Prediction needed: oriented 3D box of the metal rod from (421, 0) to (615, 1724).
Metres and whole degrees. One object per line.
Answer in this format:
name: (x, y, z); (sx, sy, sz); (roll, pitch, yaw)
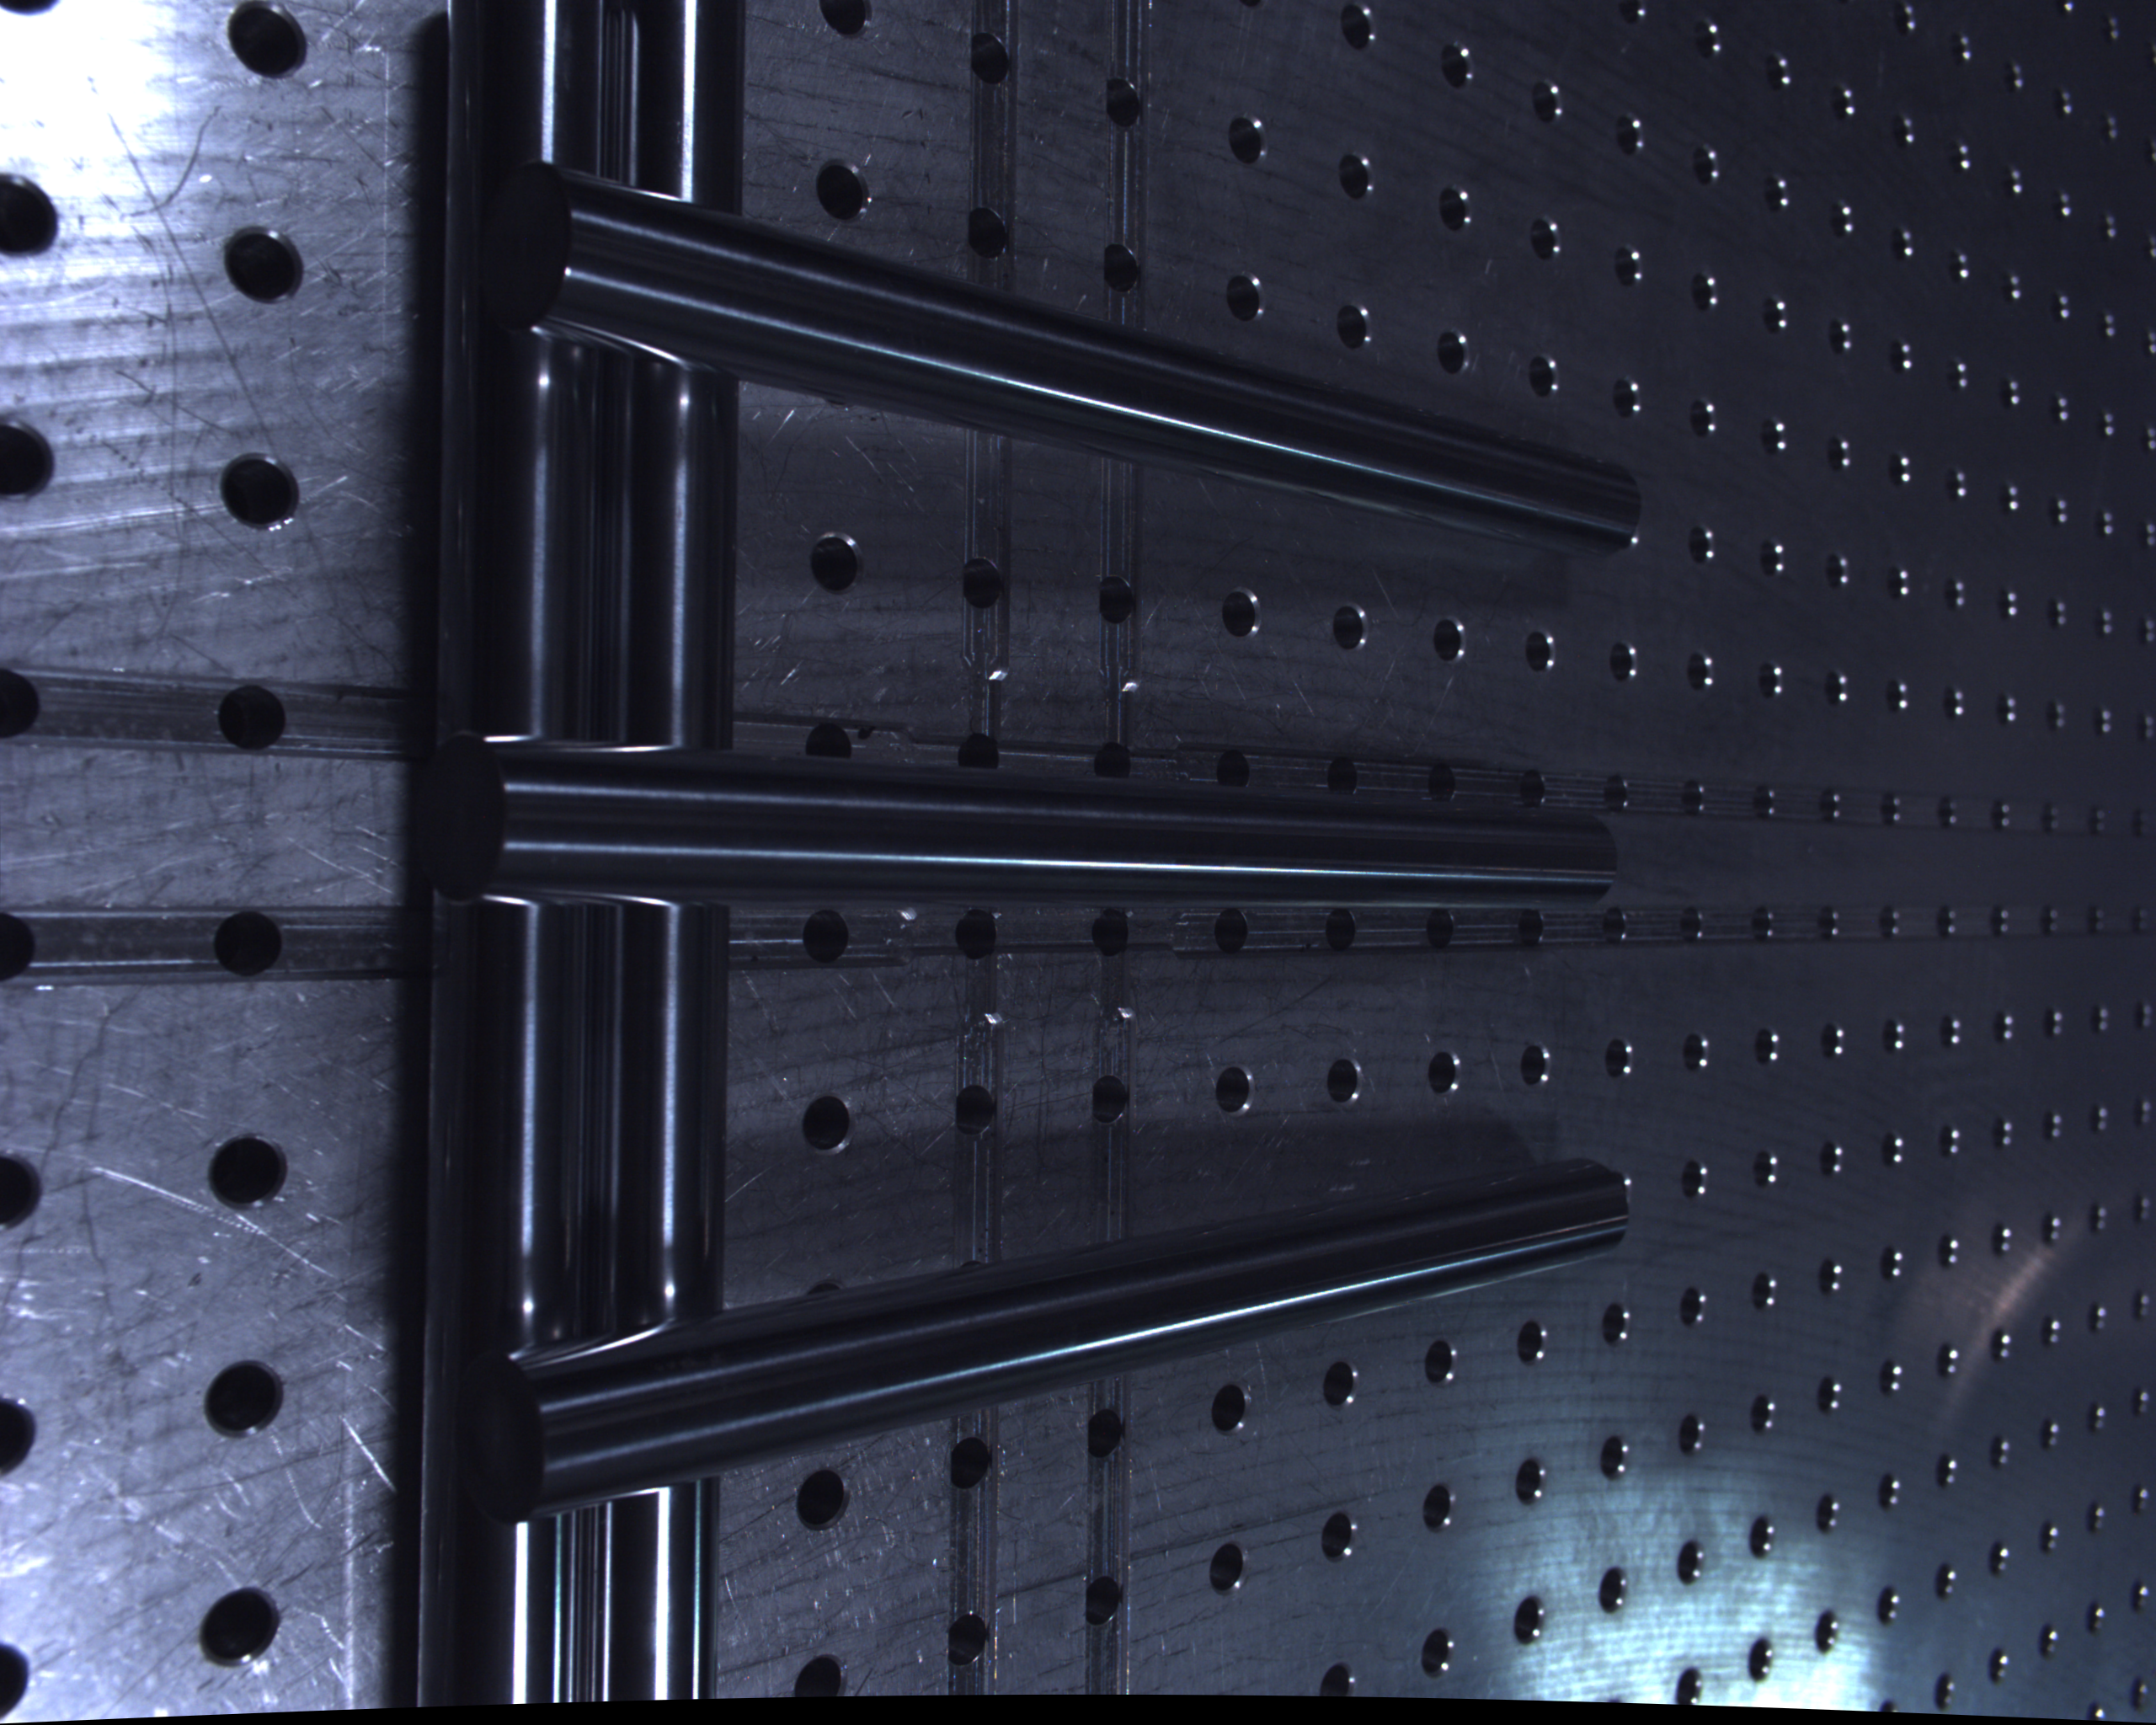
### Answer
metal rod: (-0.090, 0.009, 0.334); (0.025, 0.025, 0.298); (1, 89, -40)

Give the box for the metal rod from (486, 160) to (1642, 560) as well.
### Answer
metal rod: (0.025, -0.089, 0.413); (0.302, 0.025, 0.025); (1, 90, -46)

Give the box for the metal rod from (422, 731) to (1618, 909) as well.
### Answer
metal rod: (0.018, -0.004, 0.406); (0.302, 0.025, 0.025); (2, 89, -46)

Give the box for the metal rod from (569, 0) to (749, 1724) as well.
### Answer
metal rod: (-0.071, 0.001, 0.351); (0.025, 0.025, 0.298); (1, 89, -40)

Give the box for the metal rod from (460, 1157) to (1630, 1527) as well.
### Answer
metal rod: (0.022, 0.085, 0.411); (0.302, 0.025, 0.025); (1, 90, -46)
